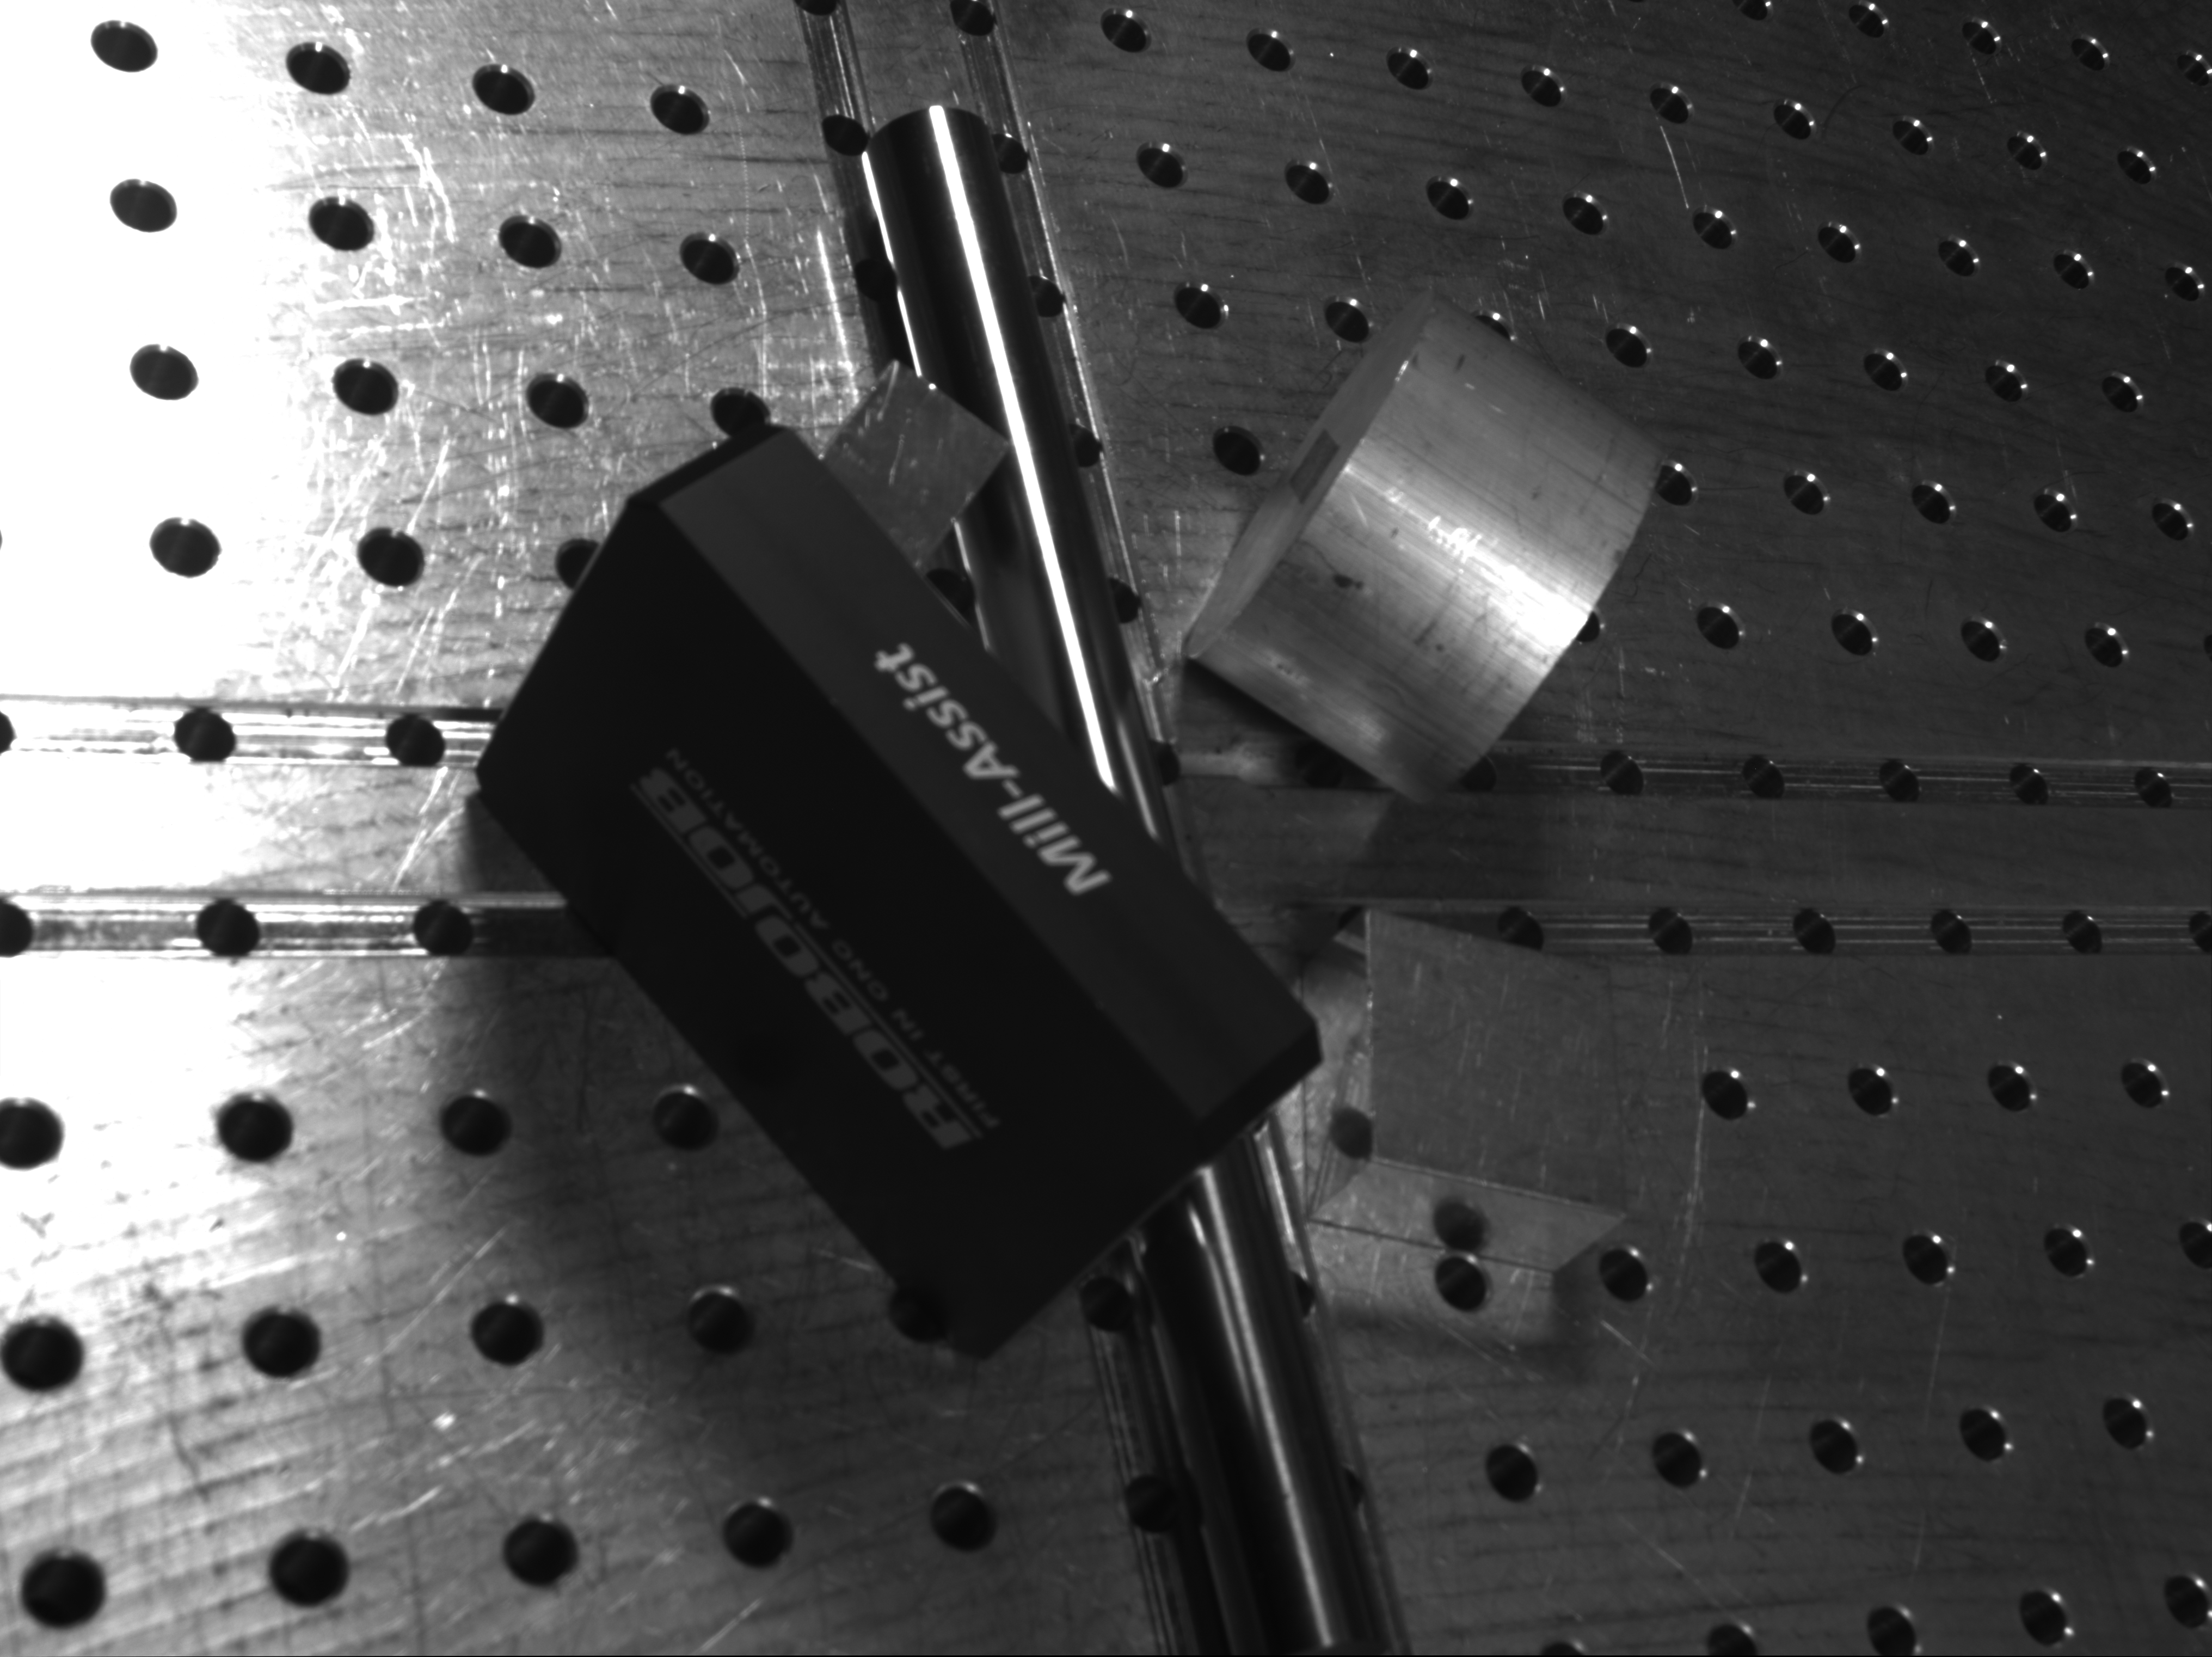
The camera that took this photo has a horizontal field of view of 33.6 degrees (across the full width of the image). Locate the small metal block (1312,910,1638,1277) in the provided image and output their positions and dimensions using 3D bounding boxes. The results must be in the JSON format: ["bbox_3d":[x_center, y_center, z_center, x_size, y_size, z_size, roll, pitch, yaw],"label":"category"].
[{"bbox_3d":[0.065,0.047,0.650,0.050,0.025,0.050,14,56,-20],"label":"small metal block"}]

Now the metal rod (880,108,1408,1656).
[{"bbox_3d":[0.002,0.001,0.643,0.025,0.025,0.300,0,62,-28],"label":"metal rod"}]

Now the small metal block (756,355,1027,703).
[{"bbox_3d":[-0.044,-0.045,0.630,0.025,0.050,0.050,36,51,-4],"label":"small metal block"}]

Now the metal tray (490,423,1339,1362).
[{"bbox_3d":[-0.033,0.012,0.575,0.130,0.090,0.030,48,51,6],"label":"metal tray"}]

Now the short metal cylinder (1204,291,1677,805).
[{"bbox_3d":[0.060,-0.051,0.671,0.050,0.080,0.080,33,51,-7],"label":"short metal cylinder"}]
